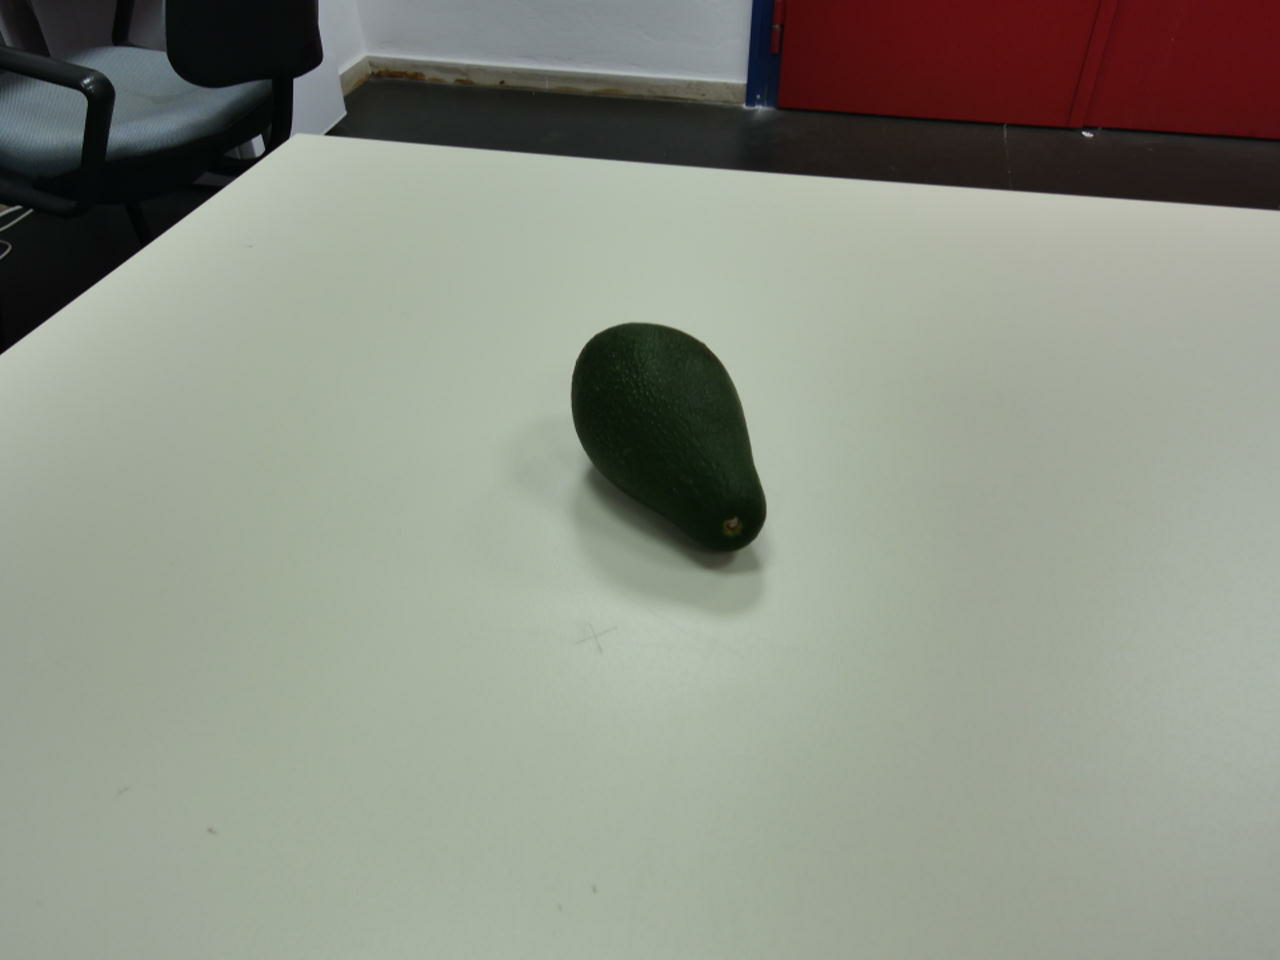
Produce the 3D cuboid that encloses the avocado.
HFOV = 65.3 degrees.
[{"bbox_3d":[0.009,-0.022,0.420,0.072,0.071,0.109,-6,38,-7],"label":"avocado"}]
